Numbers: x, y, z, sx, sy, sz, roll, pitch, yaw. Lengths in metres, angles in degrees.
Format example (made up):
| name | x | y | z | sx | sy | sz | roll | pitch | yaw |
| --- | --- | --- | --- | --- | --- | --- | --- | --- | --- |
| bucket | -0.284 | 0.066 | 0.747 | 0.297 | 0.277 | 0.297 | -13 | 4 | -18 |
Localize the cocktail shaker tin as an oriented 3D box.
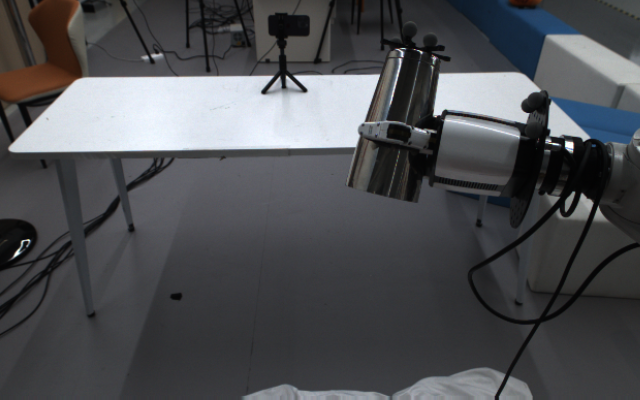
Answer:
| name | x | y | z | sx | sy | sz | roll | pitch | yaw |
| --- | --- | --- | --- | --- | --- | --- | --- | --- | --- |
| cocktail shaker tin | 0.096 | -0.090 | 0.590 | 0.093 | 0.170 | 0.093 | 13 | 4 | -1 |
